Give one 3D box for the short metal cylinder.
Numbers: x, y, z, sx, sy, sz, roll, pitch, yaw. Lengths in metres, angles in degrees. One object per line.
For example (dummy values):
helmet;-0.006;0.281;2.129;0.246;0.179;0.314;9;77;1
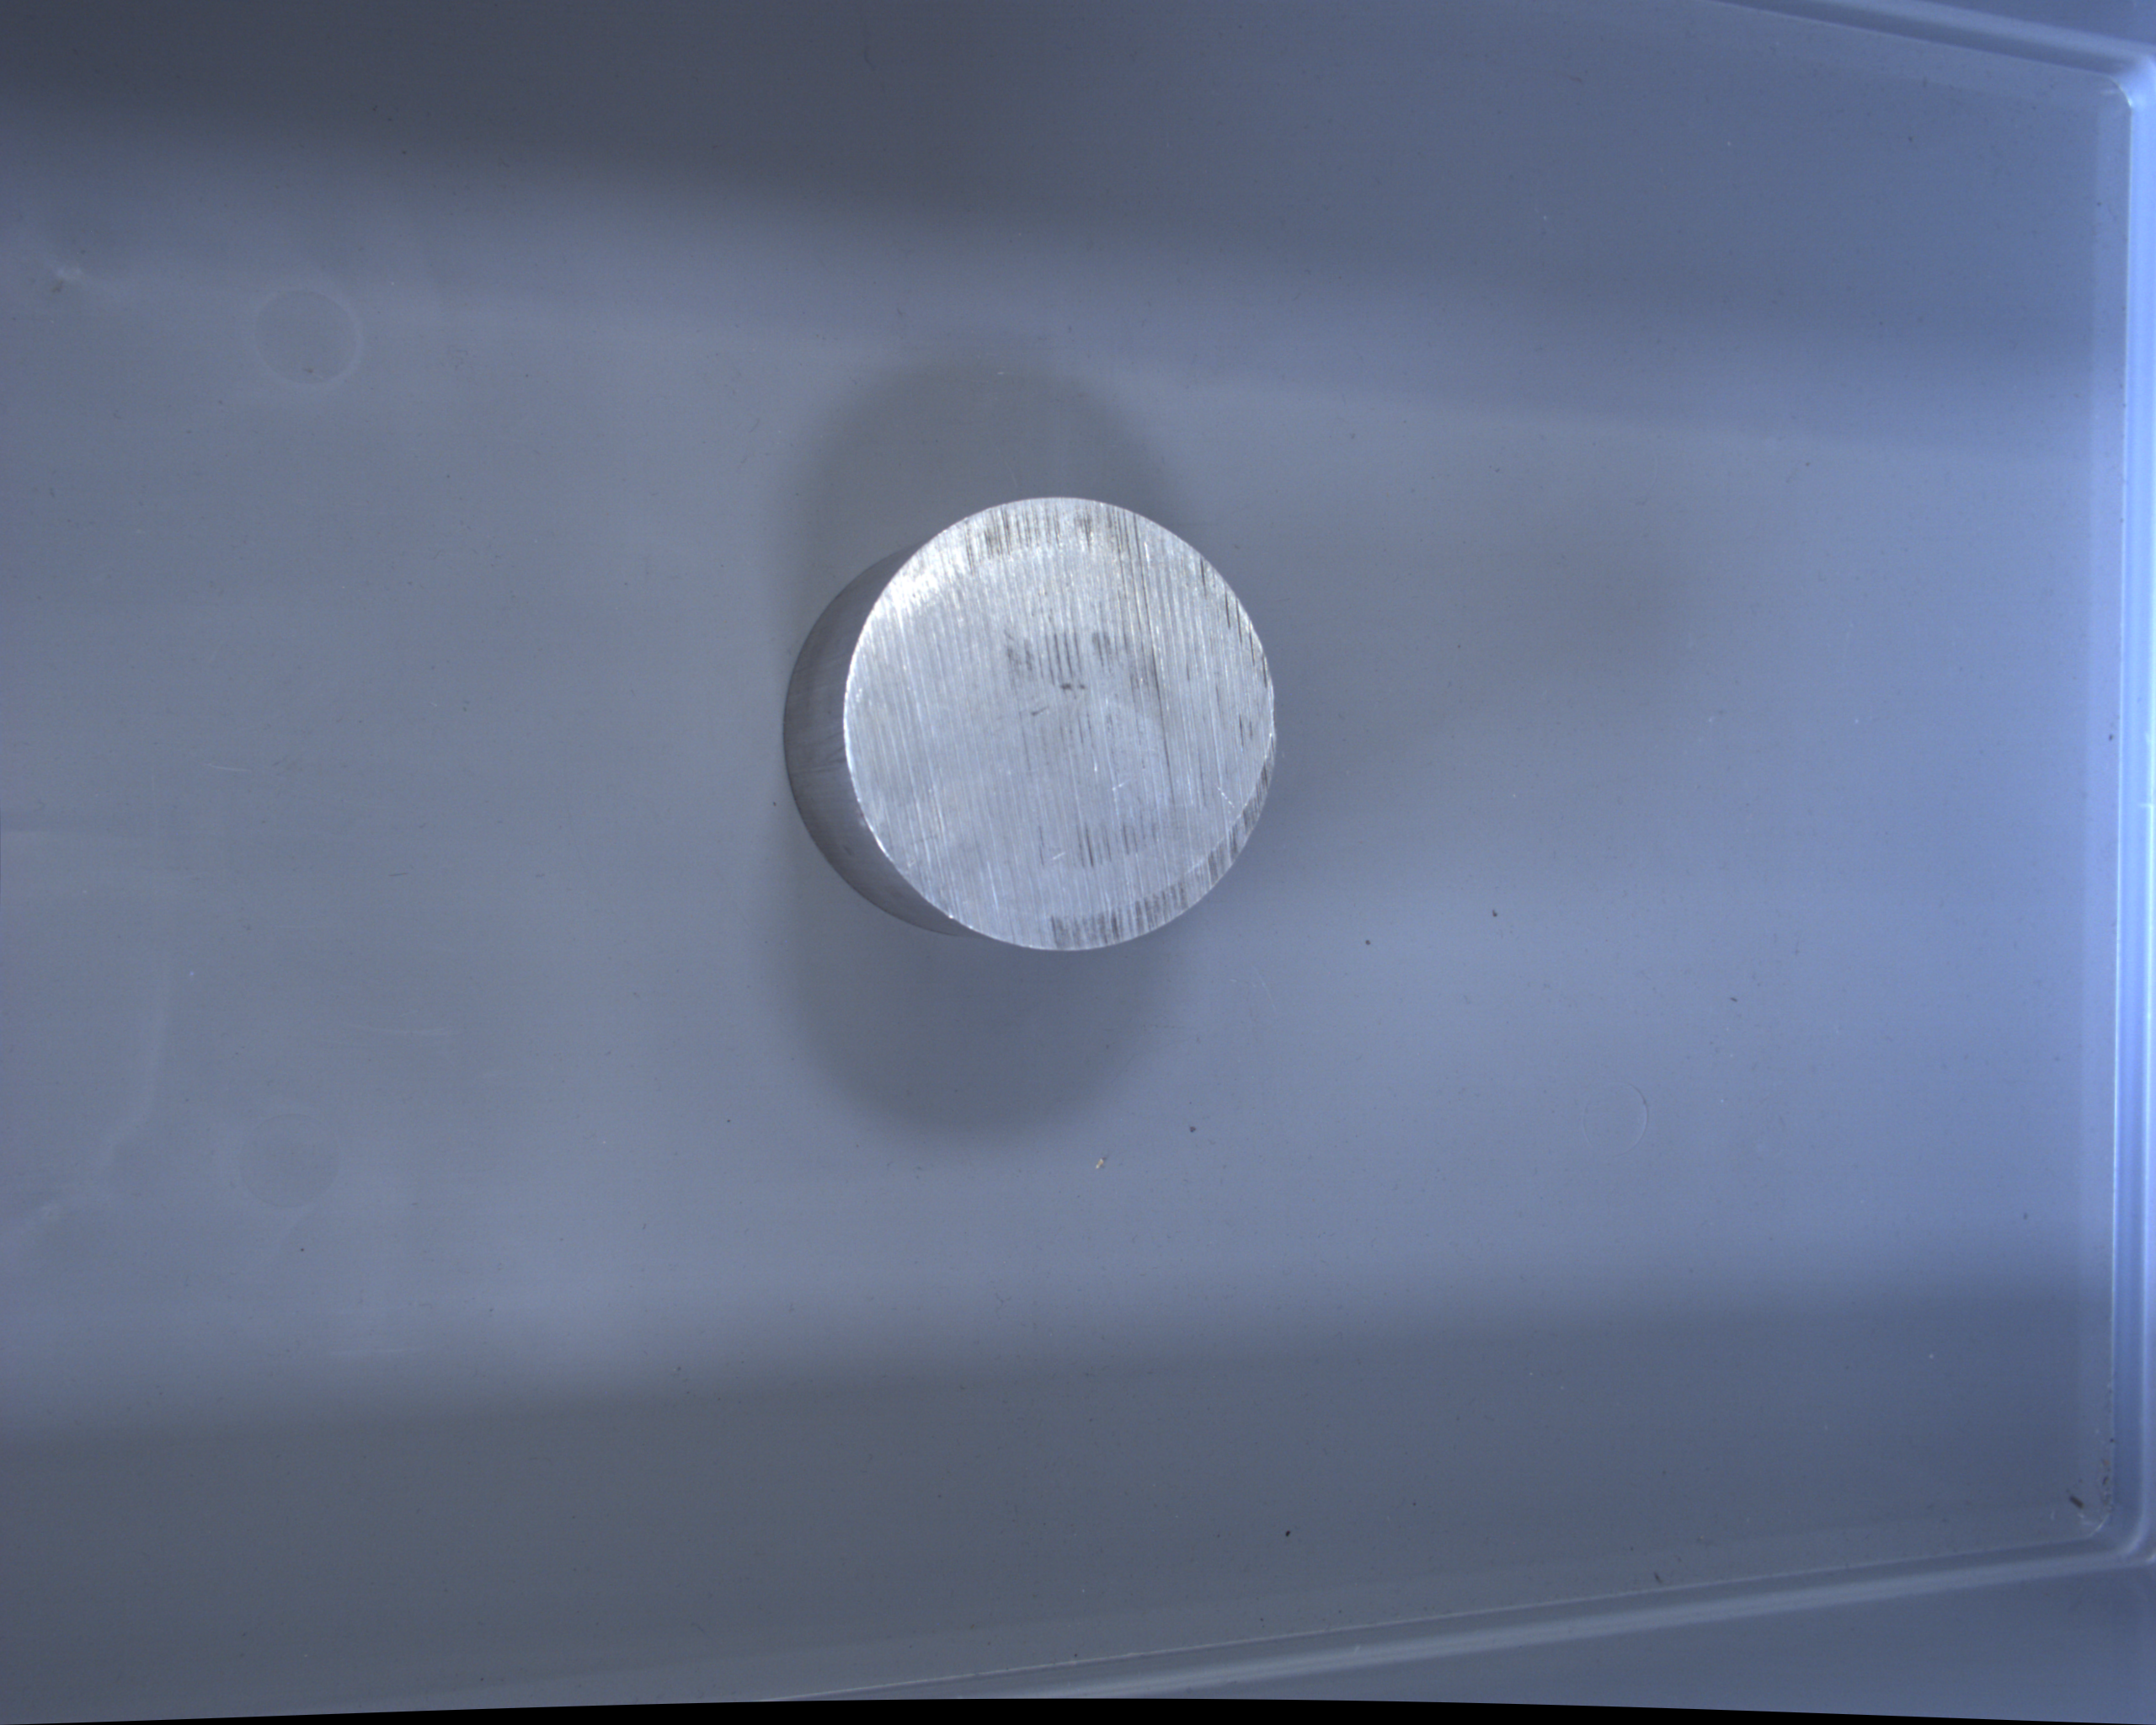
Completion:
short metal cylinder;-0.011;-0.024;0.391;0.081;0.050;0.080;0;90;-20
